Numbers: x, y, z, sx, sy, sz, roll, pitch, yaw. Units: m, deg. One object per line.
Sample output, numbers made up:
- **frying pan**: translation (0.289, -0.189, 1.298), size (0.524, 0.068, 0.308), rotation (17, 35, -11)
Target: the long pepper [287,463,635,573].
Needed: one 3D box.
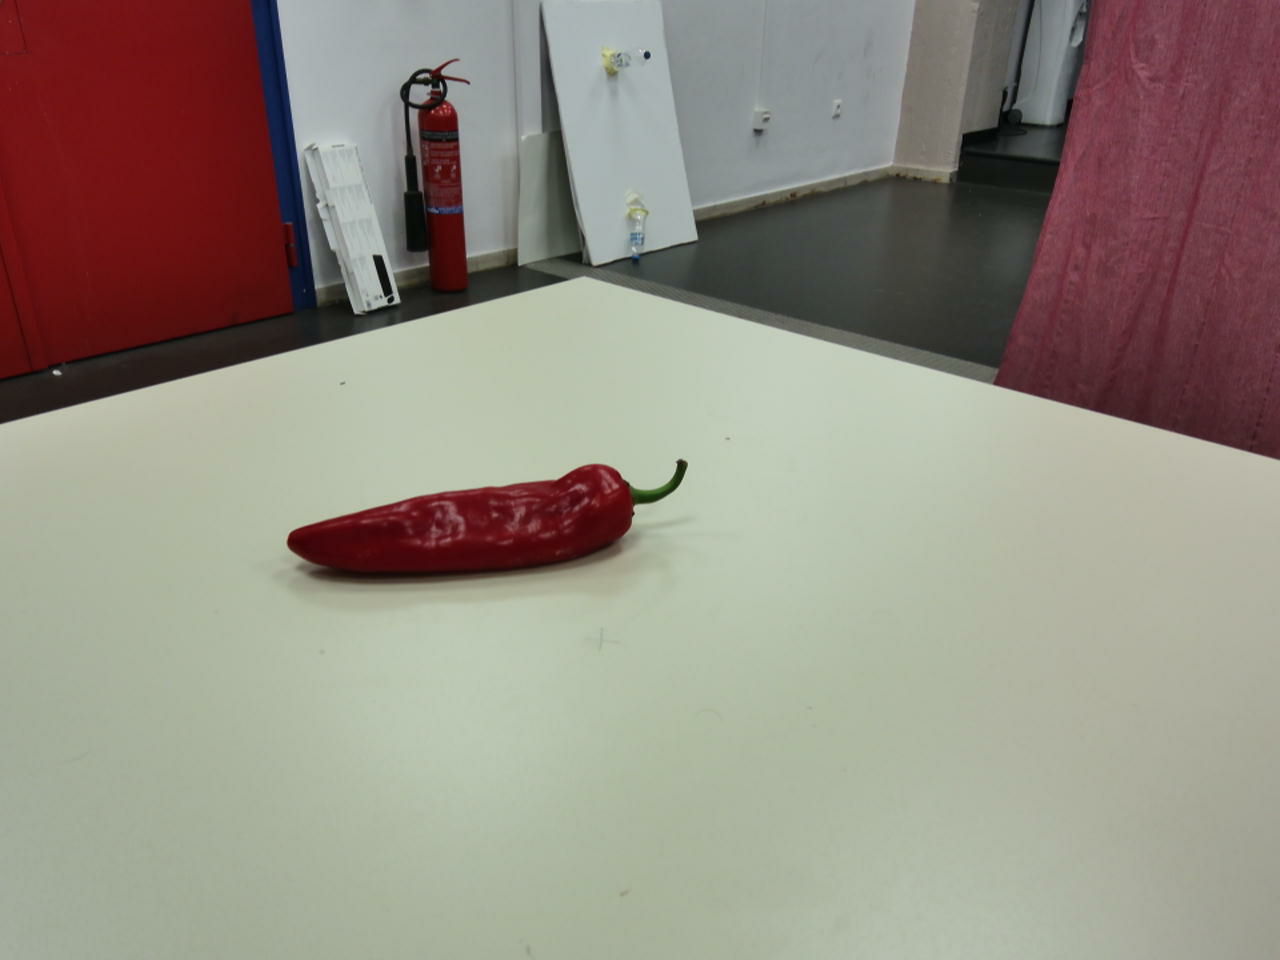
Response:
- **long pepper**: translation (-0.076, 0.022, 0.522), size (0.211, 0.043, 0.050), rotation (-7, 25, -16)
